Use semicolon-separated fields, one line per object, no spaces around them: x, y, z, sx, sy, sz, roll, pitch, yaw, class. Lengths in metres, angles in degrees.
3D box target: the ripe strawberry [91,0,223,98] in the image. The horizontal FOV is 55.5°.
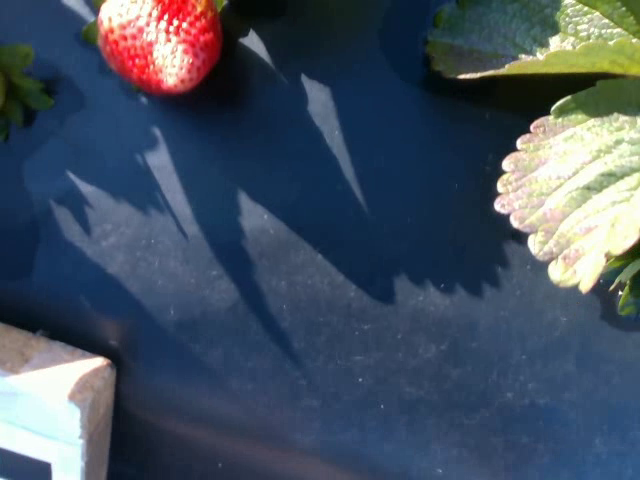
-0.034;-0.049;0.147;0.042;0.037;0.045;-13;37;-12;ripe strawberry
